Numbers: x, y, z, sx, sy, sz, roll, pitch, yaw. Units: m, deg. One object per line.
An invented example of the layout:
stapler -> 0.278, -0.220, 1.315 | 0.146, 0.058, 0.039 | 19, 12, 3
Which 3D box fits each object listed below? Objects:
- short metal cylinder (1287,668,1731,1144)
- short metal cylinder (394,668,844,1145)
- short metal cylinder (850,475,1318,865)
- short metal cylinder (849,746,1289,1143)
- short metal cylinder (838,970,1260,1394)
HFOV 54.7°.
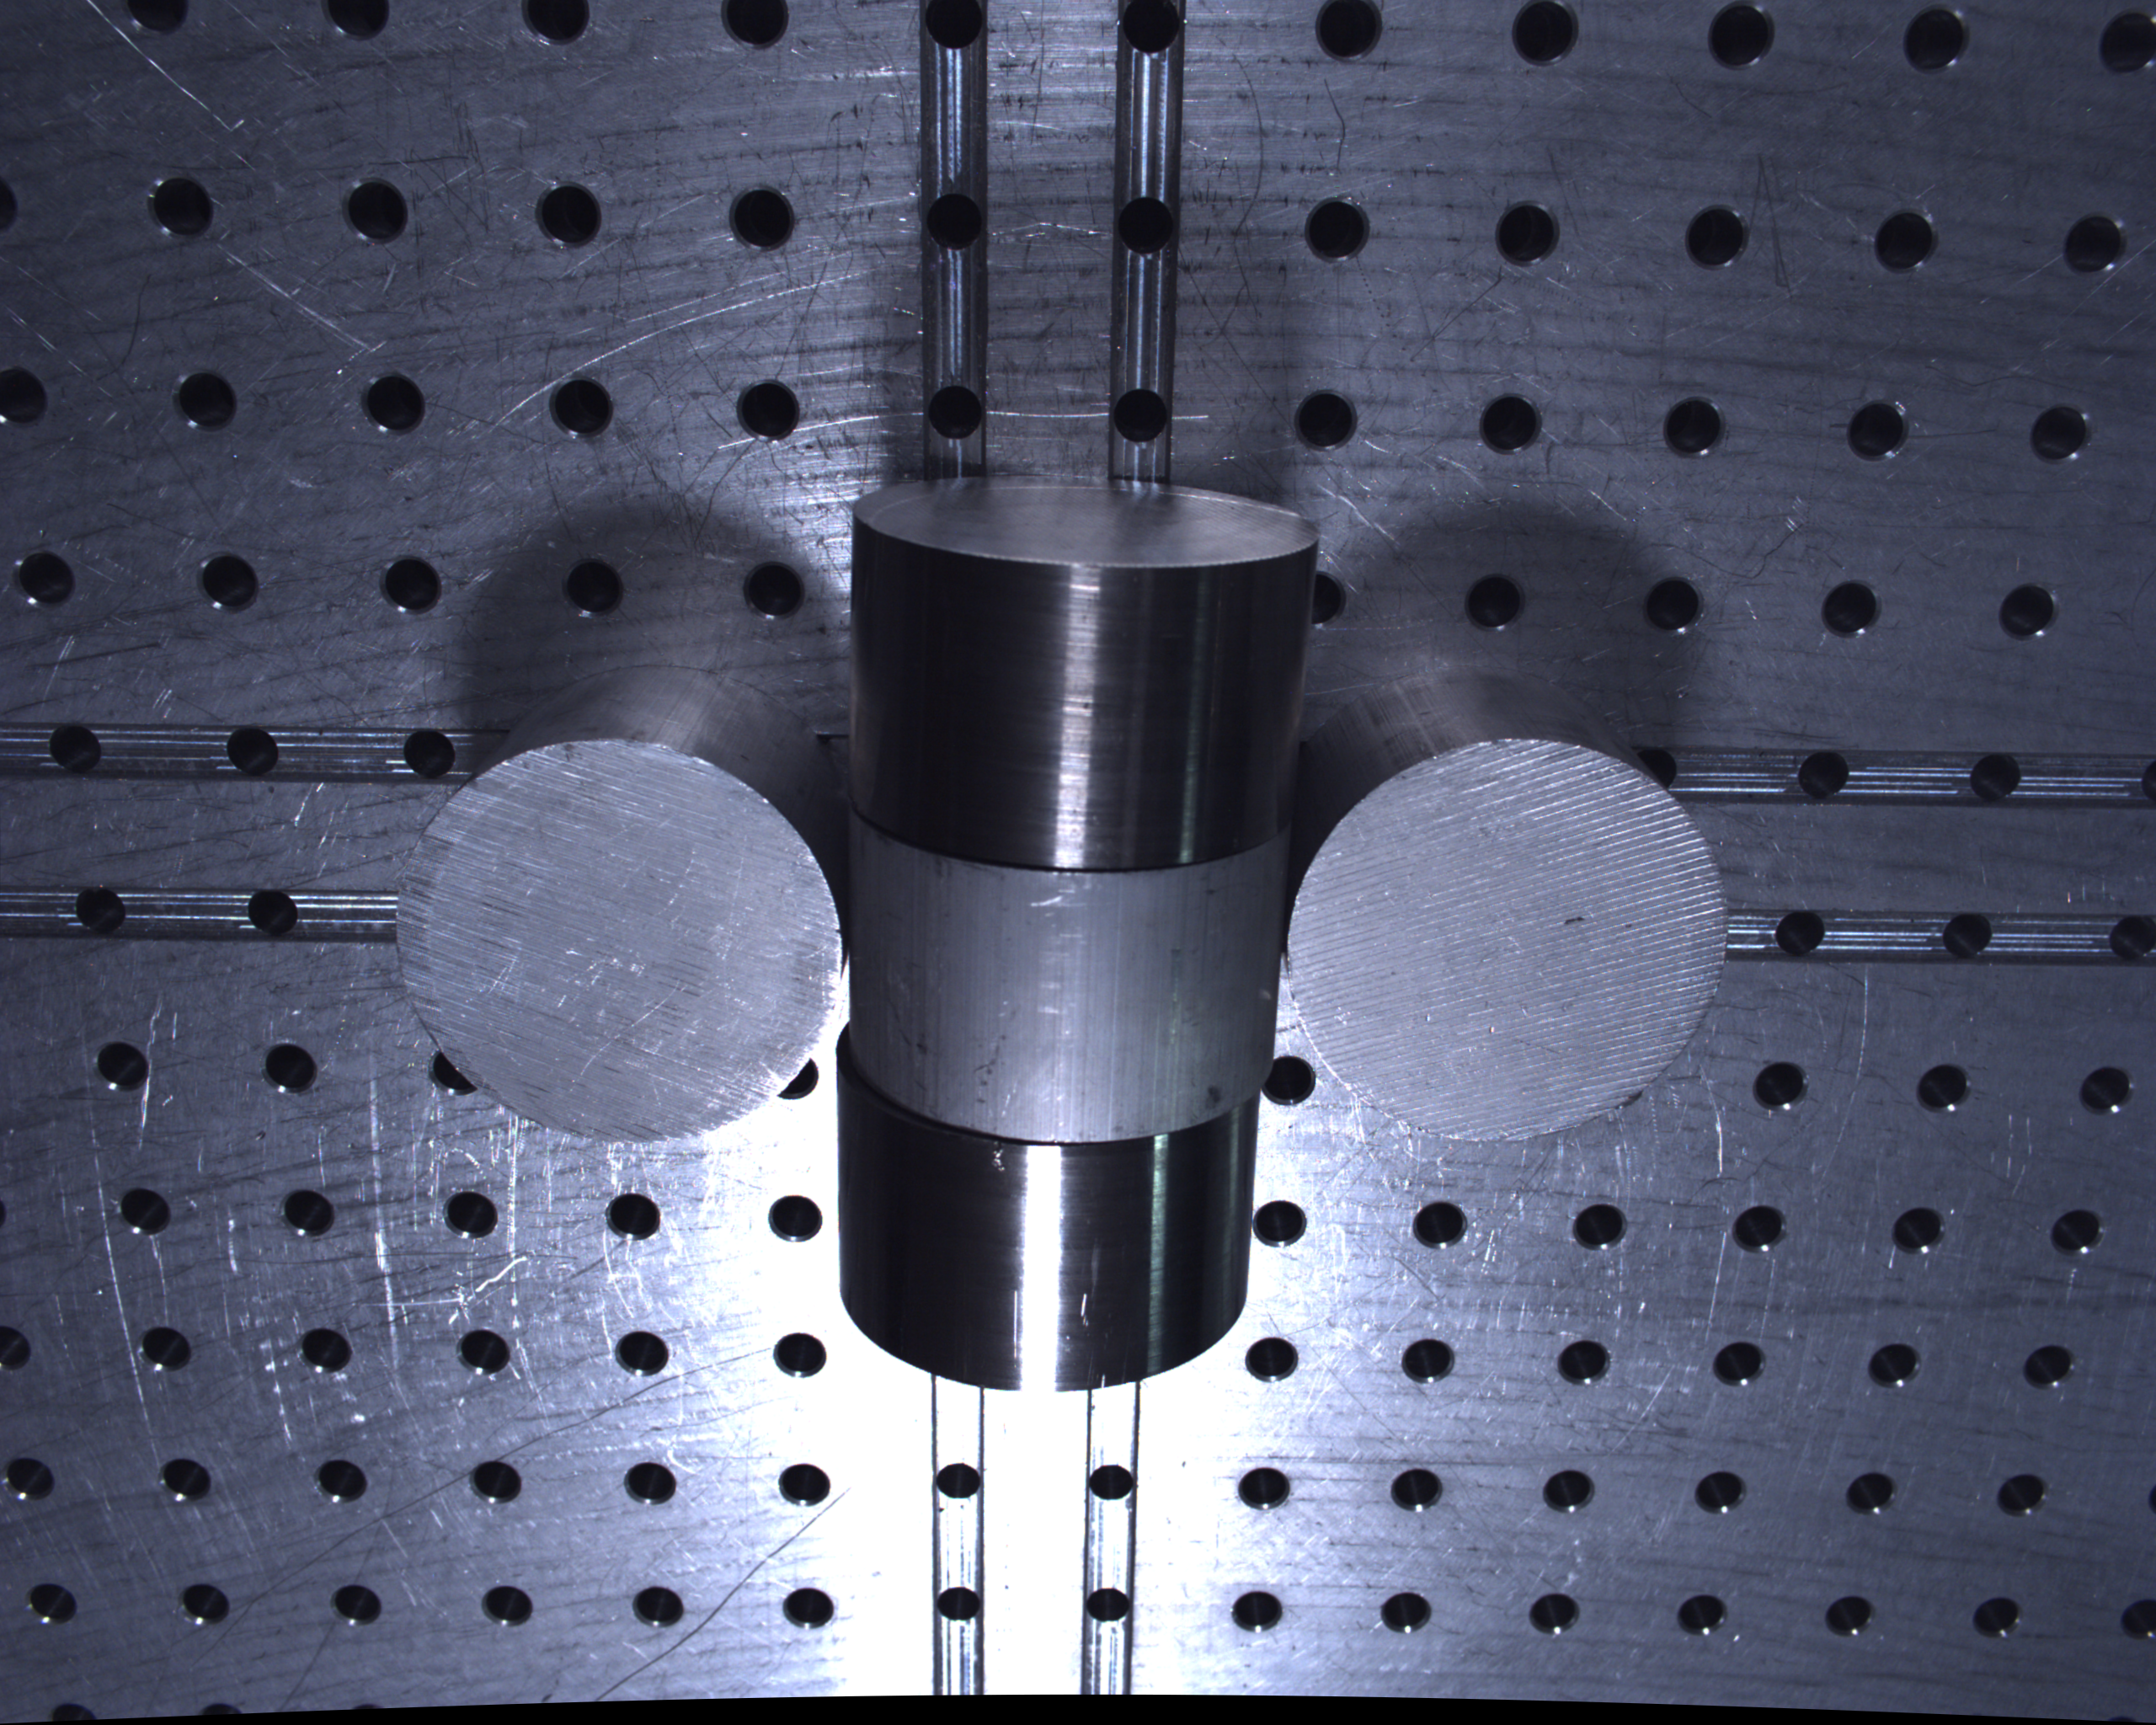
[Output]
short metal cylinder -> 0.079, 0.007, 0.403 | 0.081, 0.050, 0.079 | 0, 110, -1
short metal cylinder -> -0.083, 0.007, 0.401 | 0.081, 0.050, 0.079 | 0, 110, -1
short metal cylinder -> 0.000, -0.037, 0.370 | 0.081, 0.080, 0.050 | 2, 110, -1
short metal cylinder -> -0.002, 0.011, 0.388 | 0.081, 0.080, 0.050 | 2, 110, -1
short metal cylinder -> -0.006, 0.059, 0.405 | 0.081, 0.080, 0.050 | 1, 110, -1
